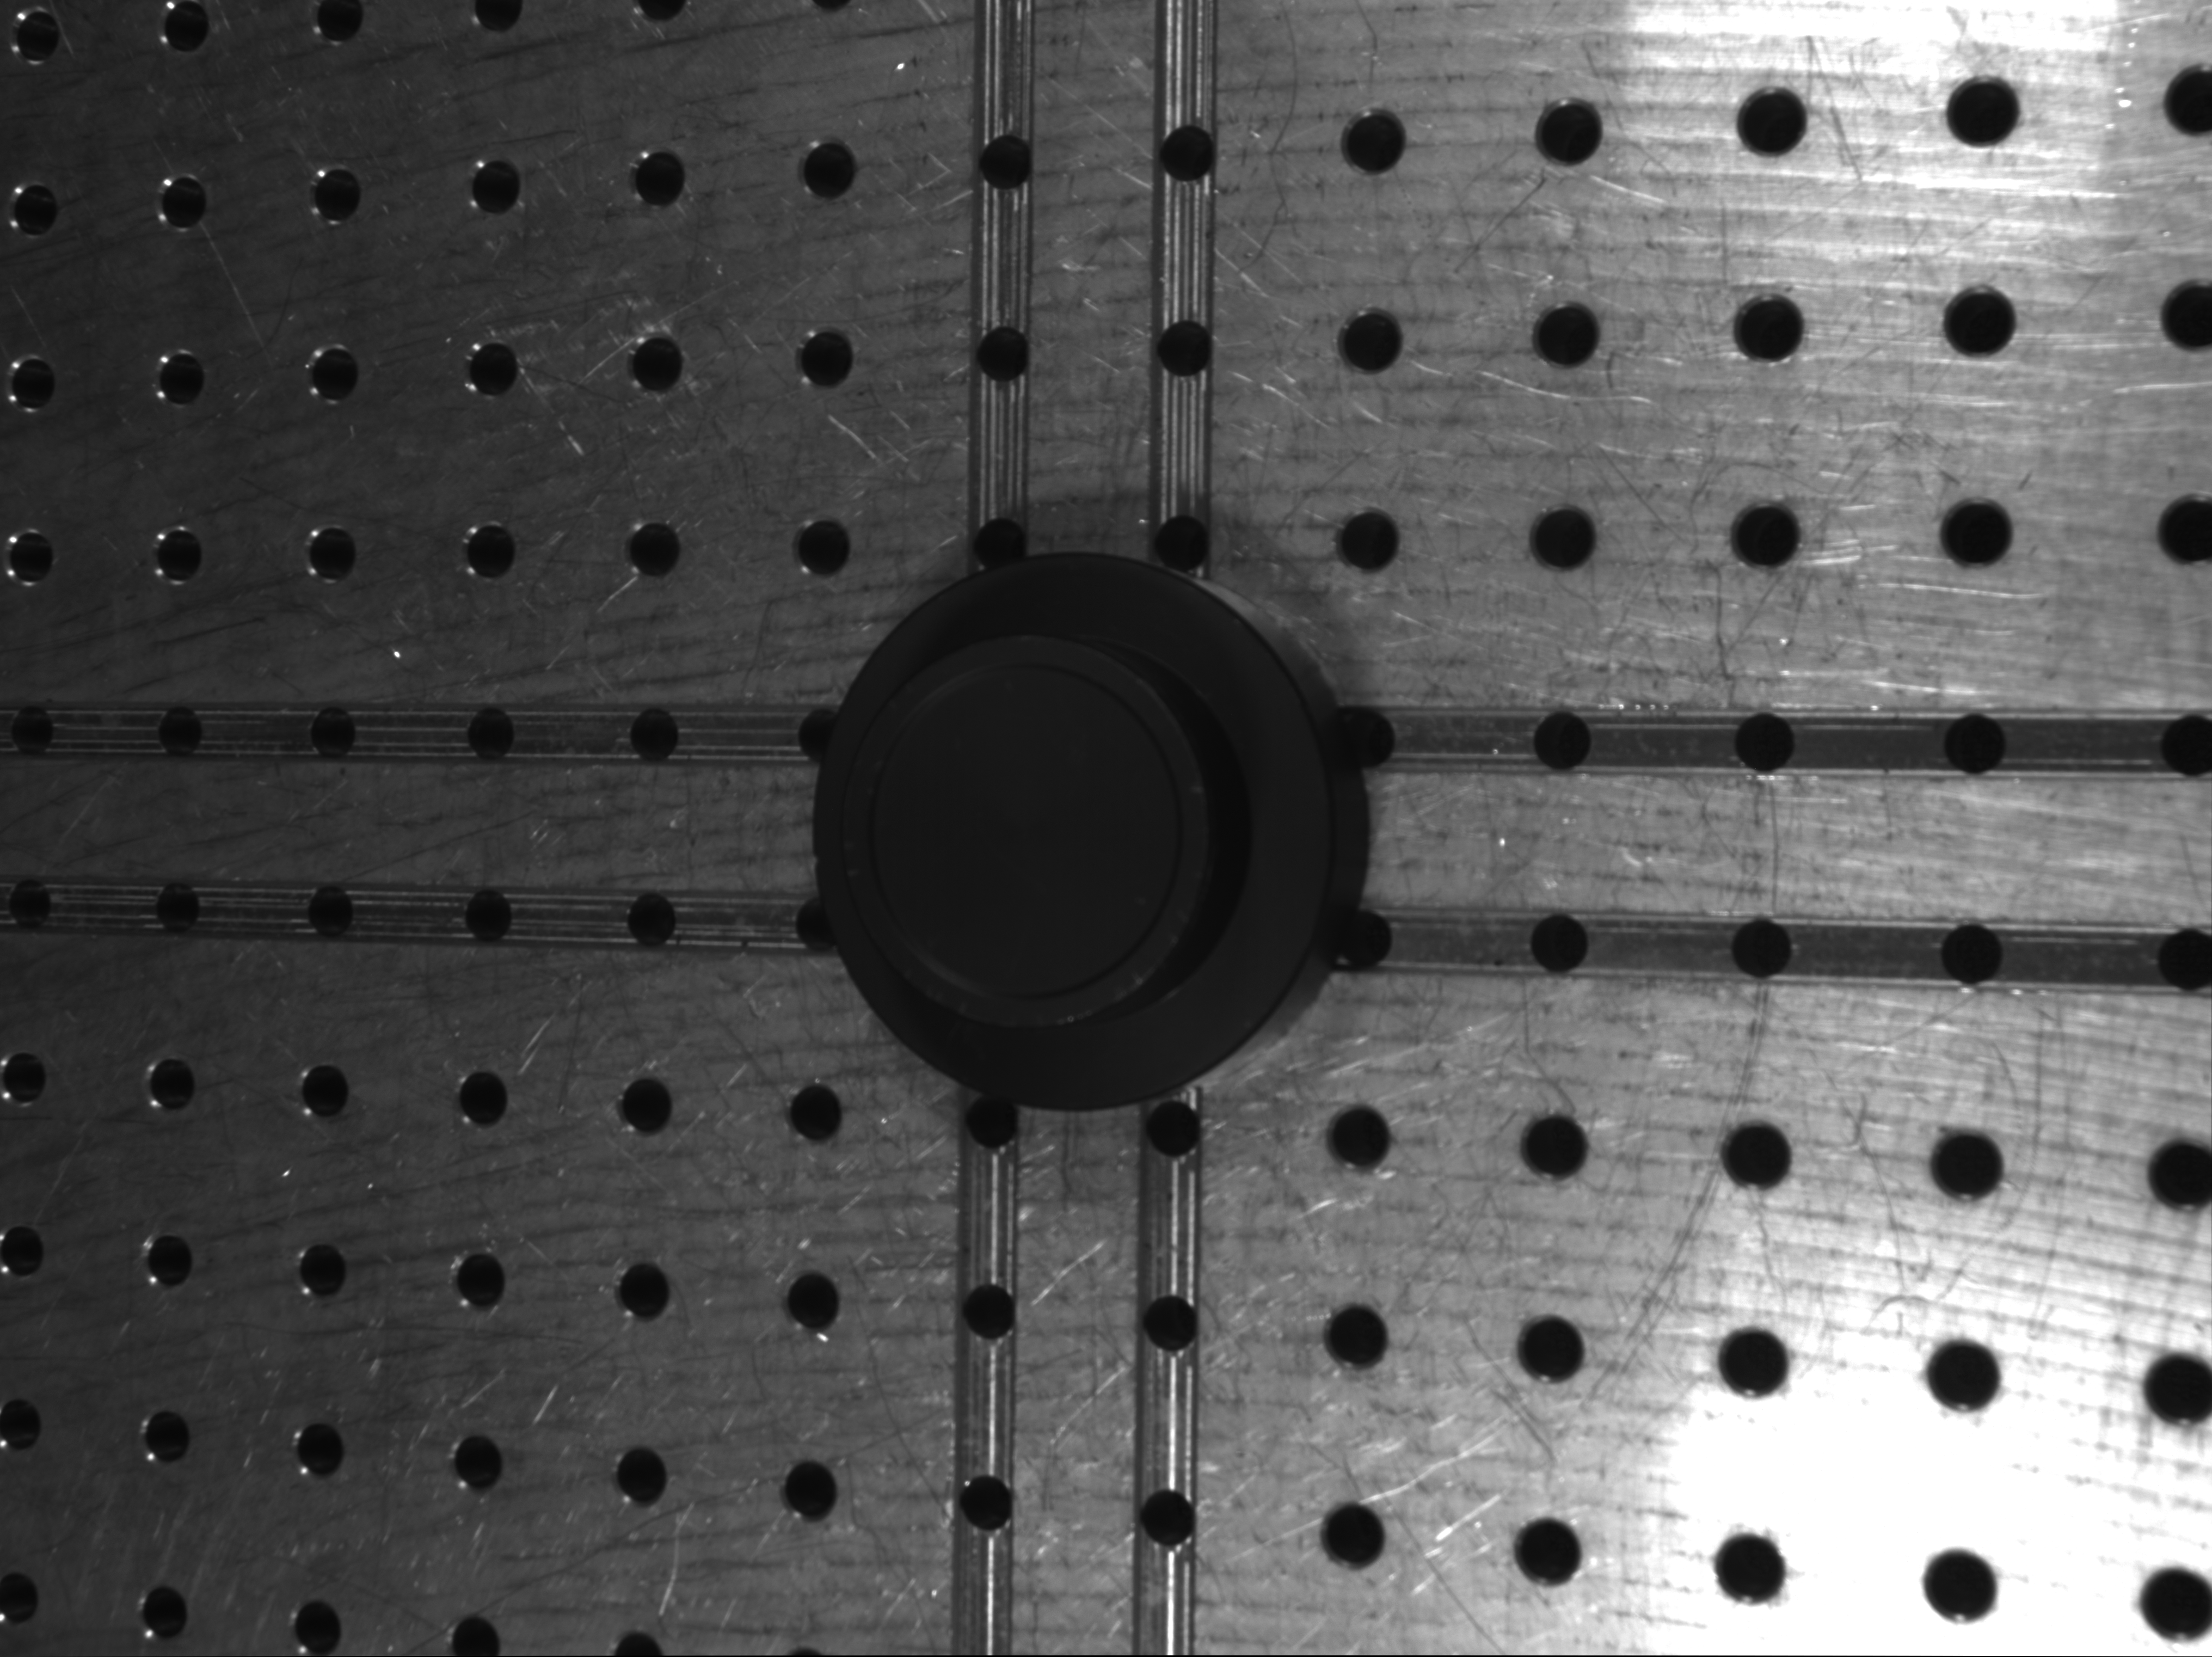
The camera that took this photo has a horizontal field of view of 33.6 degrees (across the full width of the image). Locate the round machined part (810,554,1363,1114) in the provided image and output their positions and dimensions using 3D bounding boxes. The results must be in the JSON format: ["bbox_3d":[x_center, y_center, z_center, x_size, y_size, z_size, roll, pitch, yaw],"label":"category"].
[{"bbox_3d":[-0.008,0.001,0.640,0.098,0.042,0.098,0,90,20],"label":"round machined part"}]
